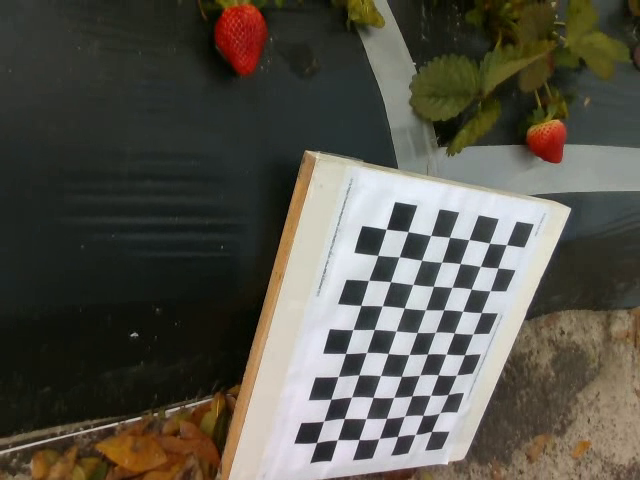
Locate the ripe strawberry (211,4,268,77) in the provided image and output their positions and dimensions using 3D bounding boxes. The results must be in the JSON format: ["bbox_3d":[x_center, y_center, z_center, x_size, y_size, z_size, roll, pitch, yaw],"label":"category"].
[{"bbox_3d":[-0.046,-0.119,0.344,0.036,0.046,0.040,-4,-20,-14],"label":"ripe strawberry"}]

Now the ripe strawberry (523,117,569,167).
[{"bbox_3d":[0.202,-0.090,0.525,0.039,0.047,0.041,-23,24,-5],"label":"ripe strawberry"}]
